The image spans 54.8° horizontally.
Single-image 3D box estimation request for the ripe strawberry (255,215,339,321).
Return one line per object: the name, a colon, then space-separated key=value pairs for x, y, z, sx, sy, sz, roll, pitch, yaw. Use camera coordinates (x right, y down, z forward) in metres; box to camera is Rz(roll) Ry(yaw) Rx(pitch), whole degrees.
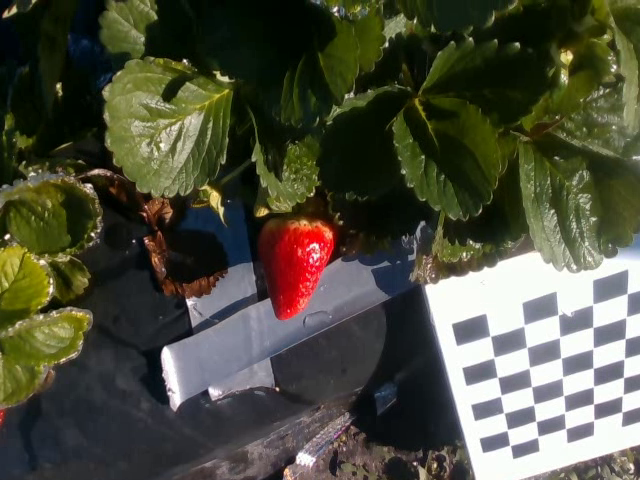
ripe strawberry: x=-0.012 y=0.022 z=0.396 sx=0.061 sy=0.065 sz=0.057 roll=7 pitch=-8 yaw=-18
